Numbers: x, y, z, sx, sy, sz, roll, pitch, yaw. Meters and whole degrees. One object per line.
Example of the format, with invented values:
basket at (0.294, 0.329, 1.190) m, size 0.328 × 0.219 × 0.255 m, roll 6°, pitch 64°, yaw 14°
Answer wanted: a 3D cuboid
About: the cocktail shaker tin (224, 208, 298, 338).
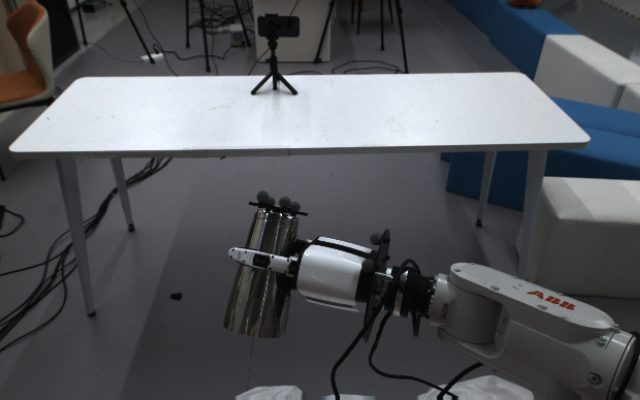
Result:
cocktail shaker tin at (-0.078, 0.105, 0.705) m, size 0.093 × 0.170 × 0.093 m, roll 11°, pitch -5°, yaw 1°
